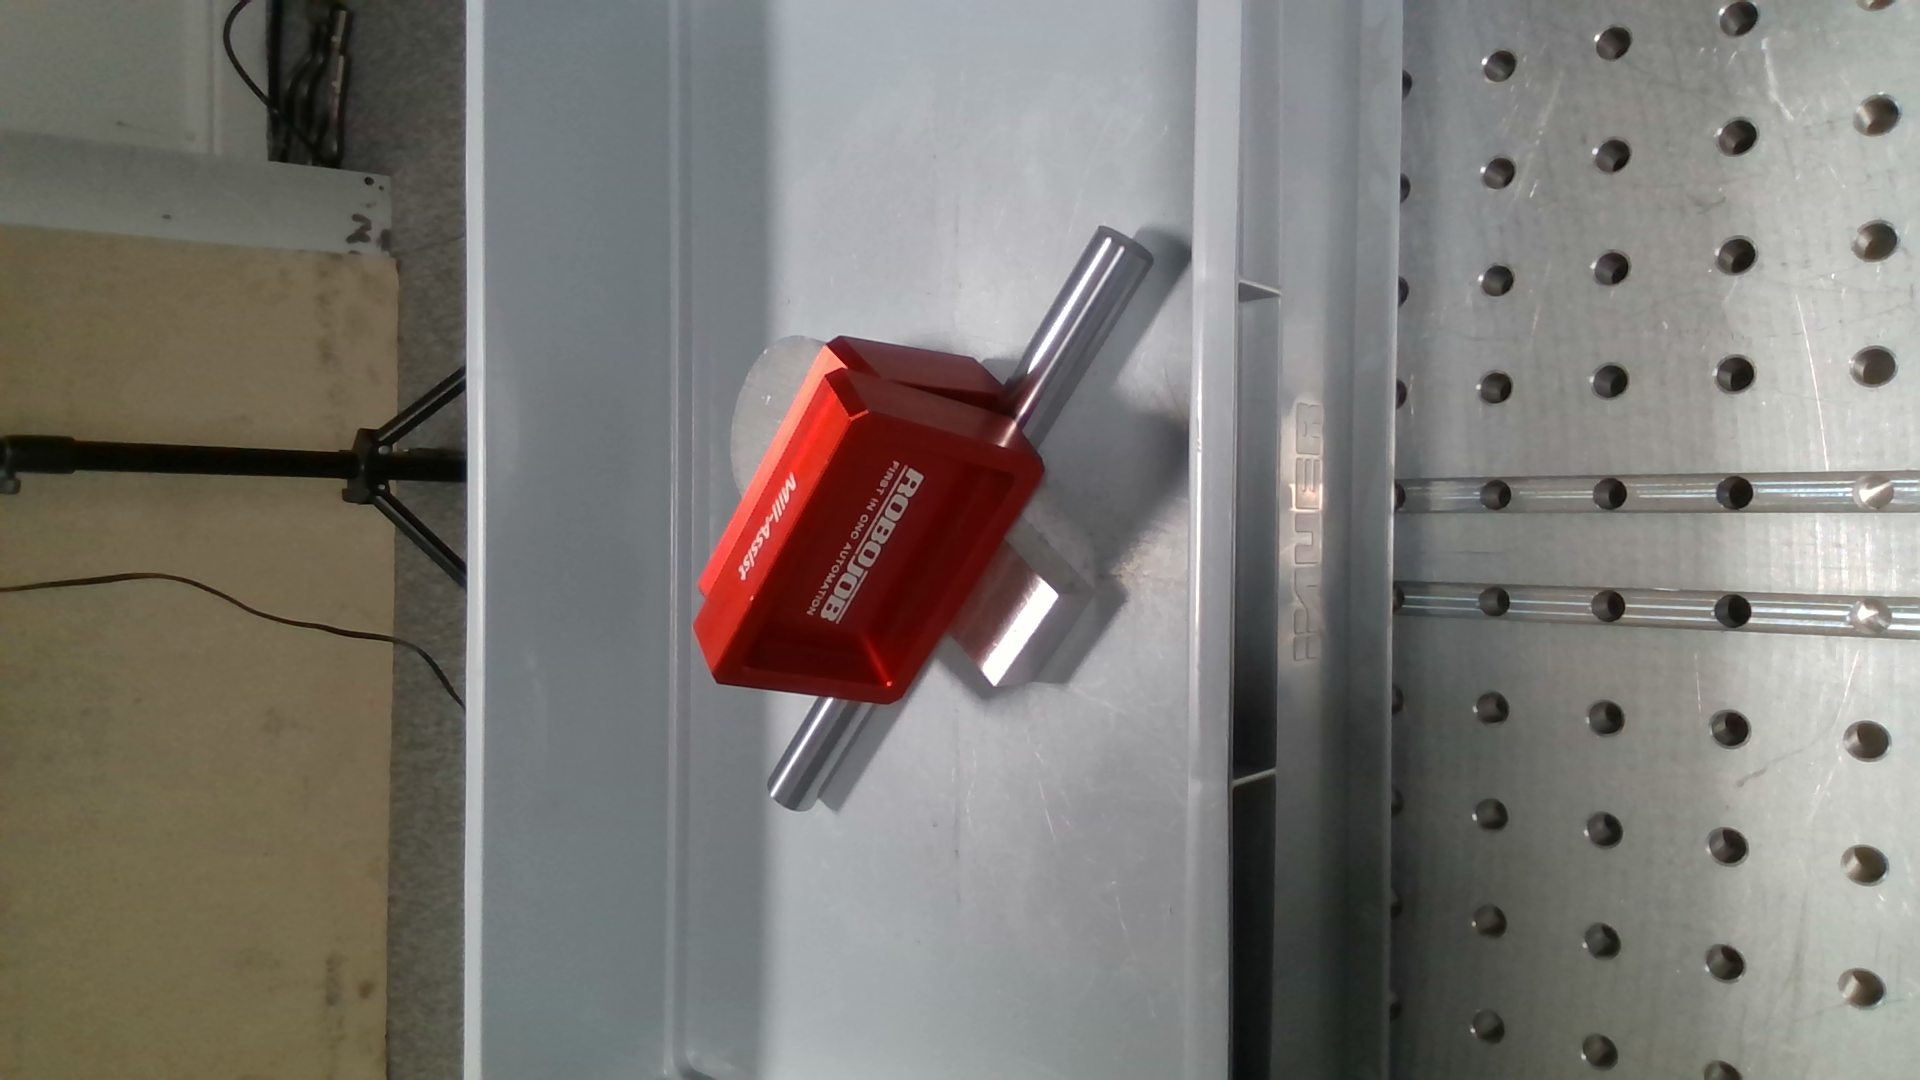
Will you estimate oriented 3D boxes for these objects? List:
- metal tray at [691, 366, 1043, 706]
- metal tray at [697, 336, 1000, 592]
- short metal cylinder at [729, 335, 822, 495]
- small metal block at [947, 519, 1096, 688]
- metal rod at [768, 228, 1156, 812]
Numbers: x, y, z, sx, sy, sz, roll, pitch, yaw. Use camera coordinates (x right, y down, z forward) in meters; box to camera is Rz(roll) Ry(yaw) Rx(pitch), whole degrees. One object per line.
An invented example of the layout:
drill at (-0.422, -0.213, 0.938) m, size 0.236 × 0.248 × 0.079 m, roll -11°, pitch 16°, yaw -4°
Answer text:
metal tray at (-0.038, 0.003, 0.537) m, size 0.130 × 0.090 × 0.030 m, roll -58°, pitch 40°, yaw 24°
metal tray at (-0.043, -0.019, 0.575) m, size 0.030 × 0.090 × 0.130 m, roll 47°, pitch 118°, yaw 30°
short metal cylinder at (-0.058, -0.046, 0.605) m, size 0.080 × 0.050 × 0.080 m, roll -8°, pitch 79°, yaw 46°
small metal block at (0.020, 0.024, 0.564) m, size 0.050 × 0.025 × 0.050 m, roll 48°, pitch 119°, yaw 29°
metal rod at (-0.007, 0.003, 0.589) m, size 0.025 × 0.025 × 0.301 m, roll 47°, pitch 118°, yaw 30°
